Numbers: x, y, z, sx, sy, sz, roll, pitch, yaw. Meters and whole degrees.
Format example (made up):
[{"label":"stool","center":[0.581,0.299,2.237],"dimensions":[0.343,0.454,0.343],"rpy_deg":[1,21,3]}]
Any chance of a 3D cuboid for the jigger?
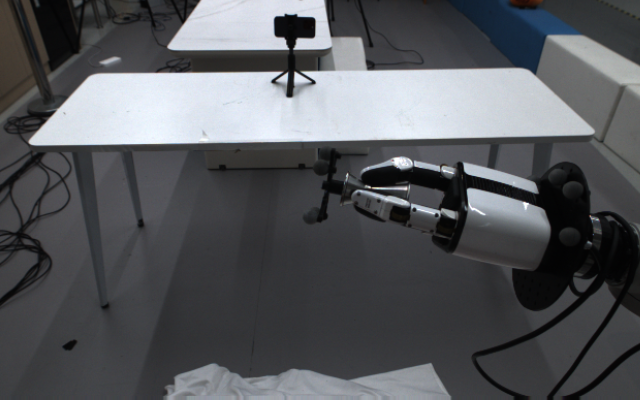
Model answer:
[{"label":"jigger","center":[0.066,-0.007,0.518],"dimensions":[0.071,0.043,0.043],"rpy_deg":[12,36,5]}]
